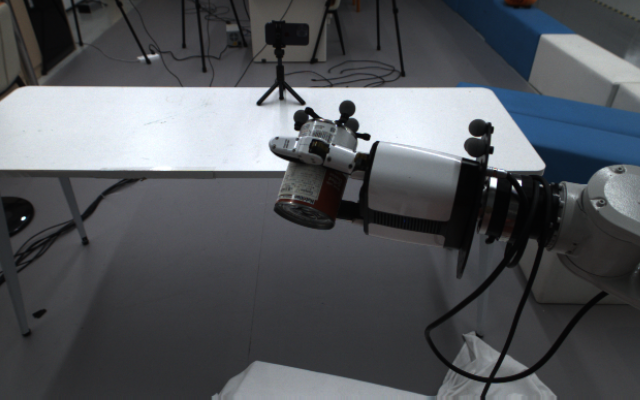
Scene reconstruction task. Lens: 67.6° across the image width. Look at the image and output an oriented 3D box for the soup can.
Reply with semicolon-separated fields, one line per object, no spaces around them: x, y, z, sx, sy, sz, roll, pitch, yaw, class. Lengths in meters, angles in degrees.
-0.003;-0.030;0.523;0.067;0.067;0.101;12;70;14;soup can
